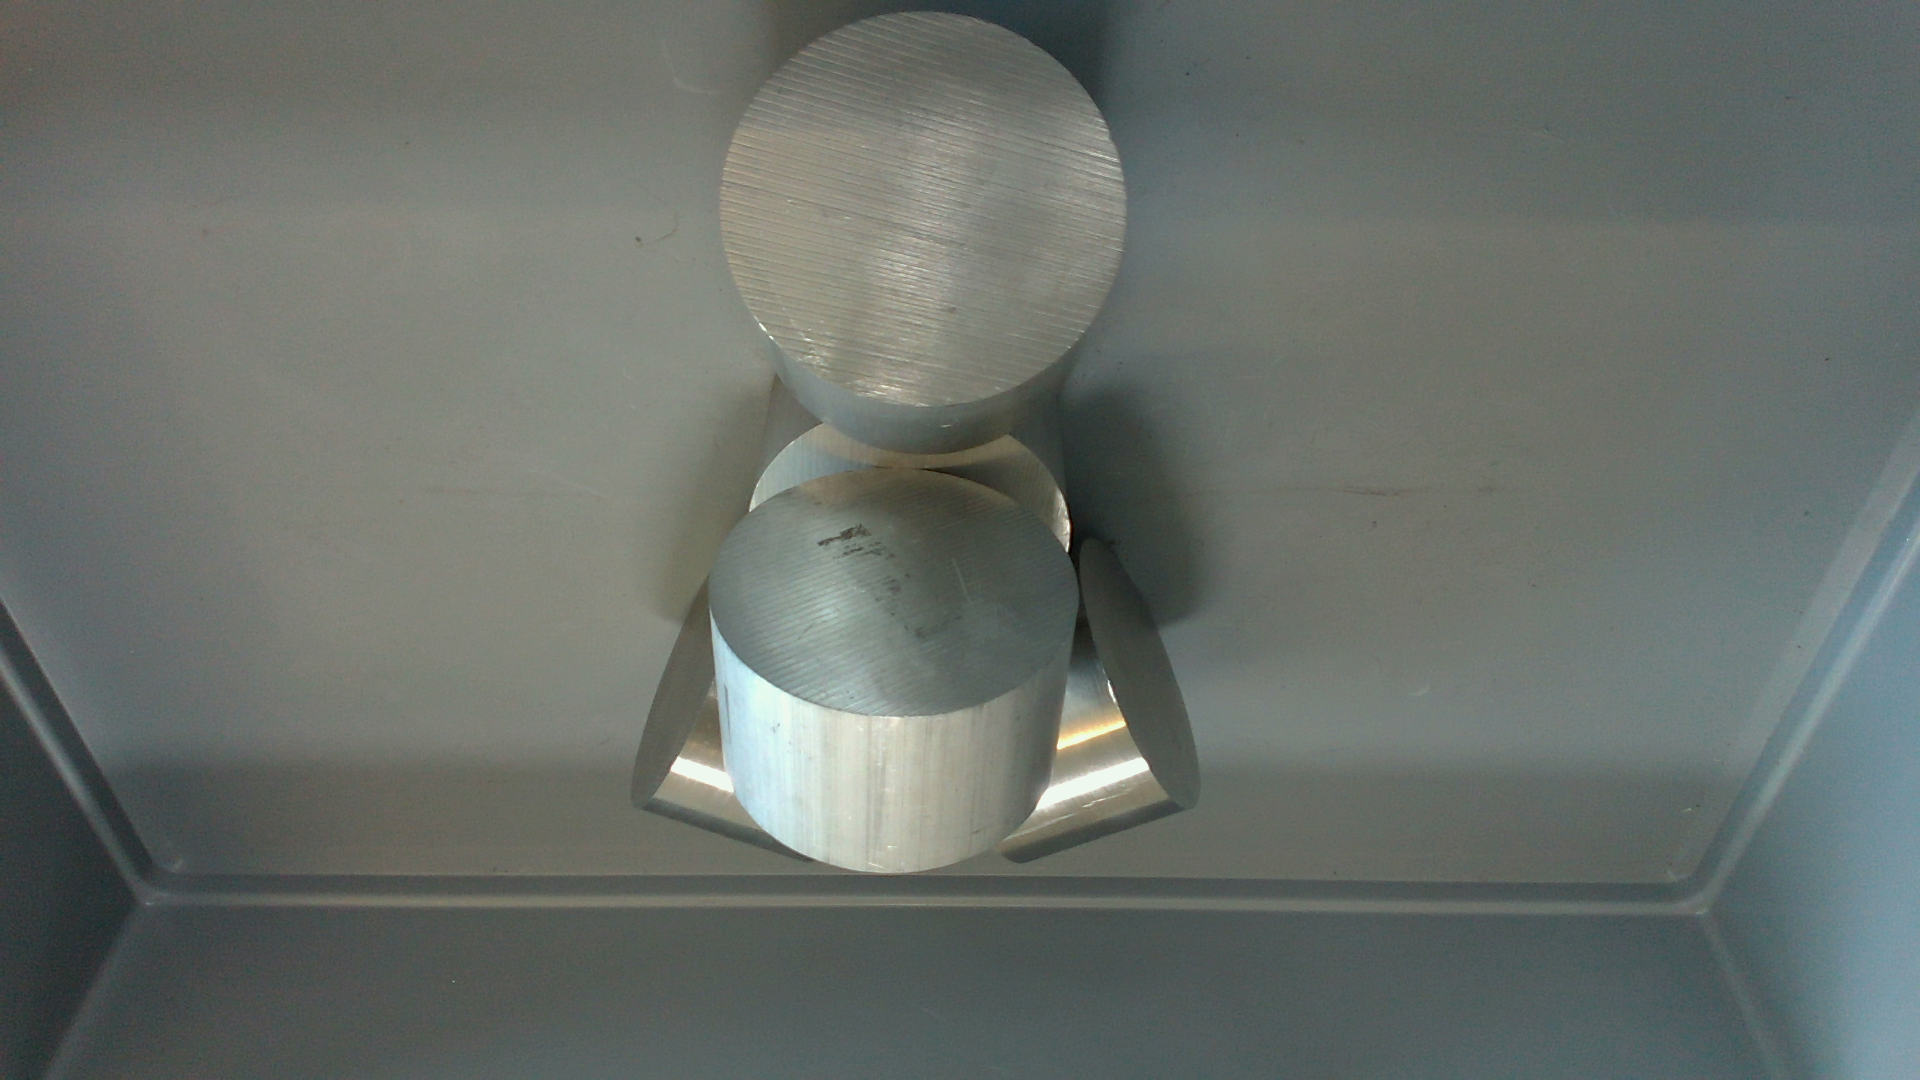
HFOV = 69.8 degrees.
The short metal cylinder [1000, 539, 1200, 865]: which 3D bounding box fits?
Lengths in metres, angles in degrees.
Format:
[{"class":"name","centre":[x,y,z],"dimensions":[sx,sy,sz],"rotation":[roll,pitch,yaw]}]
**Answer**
[{"class":"short metal cylinder","centre":[0.029,0.046,0.392],"dimensions":[0.050,0.080,0.080],"rotation":[-22,127,19]}]

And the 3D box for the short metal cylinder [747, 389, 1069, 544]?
[{"class":"short metal cylinder","centre":[-0.013,-0.016,0.358],"dimensions":[0.080,0.050,0.080],"rotation":[0,130,0]}]

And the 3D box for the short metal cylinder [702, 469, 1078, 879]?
[{"class":"short metal cylinder","centre":[-0.016,0.028,0.311],"dimensions":[0.080,0.080,0.050],"rotation":[2,130,-2]}]

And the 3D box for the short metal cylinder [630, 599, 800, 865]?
[{"class":"short metal cylinder","centre":[-0.054,0.046,0.391],"dimensions":[0.050,0.080,0.080],"rotation":[23,126,-18]}]

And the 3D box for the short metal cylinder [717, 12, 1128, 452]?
[{"class":"short metal cylinder","centre":[-0.008,-0.062,0.292],"dimensions":[0.080,0.080,0.050],"rotation":[3,173,-3]}]
